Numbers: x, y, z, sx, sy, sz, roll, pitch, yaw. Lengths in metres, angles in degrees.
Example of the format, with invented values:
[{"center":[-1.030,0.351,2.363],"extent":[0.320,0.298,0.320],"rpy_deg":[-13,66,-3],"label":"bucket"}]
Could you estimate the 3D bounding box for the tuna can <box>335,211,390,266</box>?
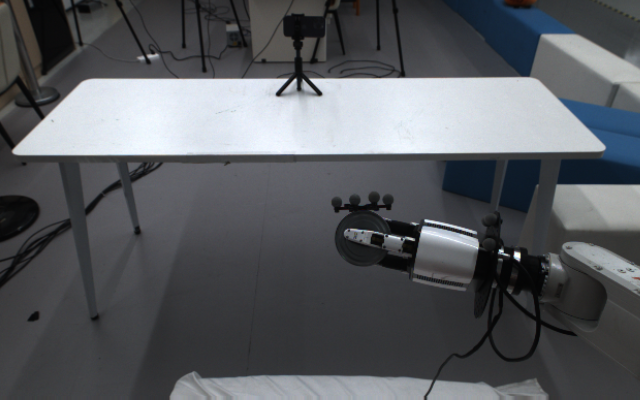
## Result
[{"center":[0.068,0.059,0.741],"extent":[0.085,0.085,0.034],"rpy_deg":[10,-7,12],"label":"tuna can"}]
